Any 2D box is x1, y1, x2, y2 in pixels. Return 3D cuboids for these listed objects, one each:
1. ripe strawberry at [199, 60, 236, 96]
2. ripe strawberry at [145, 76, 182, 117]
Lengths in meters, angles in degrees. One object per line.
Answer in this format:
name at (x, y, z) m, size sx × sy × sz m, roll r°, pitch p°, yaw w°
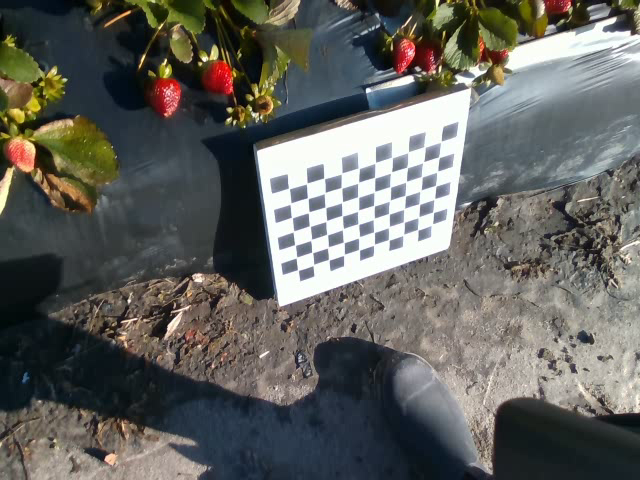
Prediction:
ripe strawberry at (-0.118, -0.188, 0.798) m, size 0.042 × 0.049 × 0.039 m, roll -46°, pitch -17°, yaw 19°
ripe strawberry at (-0.183, -0.161, 0.779) m, size 0.050 × 0.050 × 0.045 m, roll -5°, pitch -25°, yaw -28°
